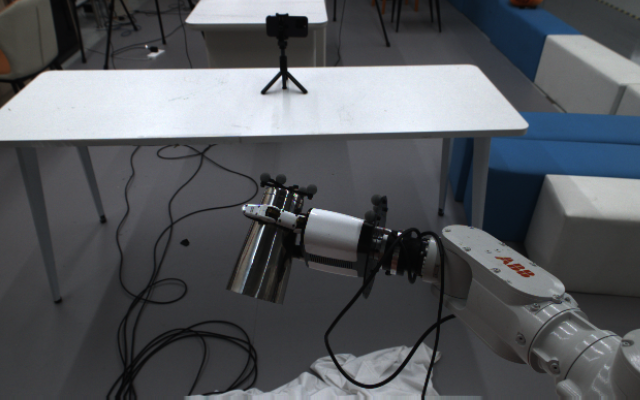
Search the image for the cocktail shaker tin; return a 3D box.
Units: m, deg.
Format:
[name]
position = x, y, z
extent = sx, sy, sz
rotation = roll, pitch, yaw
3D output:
[cocktail shaker tin]
position = -0.078, 0.068, 0.764
extent = 0.093, 0.093, 0.170
rotation = 13, 77, 15
